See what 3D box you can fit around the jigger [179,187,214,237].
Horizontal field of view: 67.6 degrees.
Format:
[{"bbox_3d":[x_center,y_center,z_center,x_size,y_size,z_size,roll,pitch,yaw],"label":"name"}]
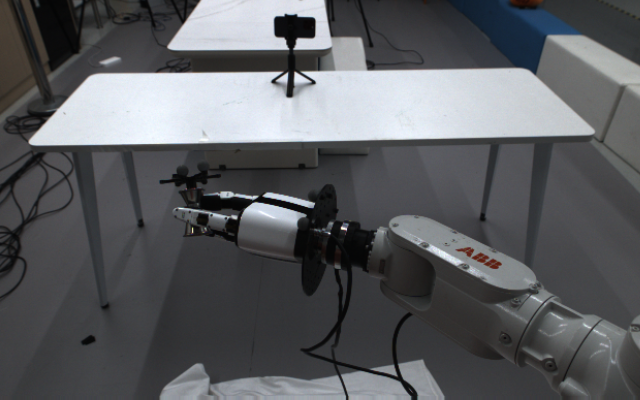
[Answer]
[{"bbox_3d":[-0.186,0.019,0.723,0.043,0.071,0.043,-9,-5,-1],"label":"jigger"}]
